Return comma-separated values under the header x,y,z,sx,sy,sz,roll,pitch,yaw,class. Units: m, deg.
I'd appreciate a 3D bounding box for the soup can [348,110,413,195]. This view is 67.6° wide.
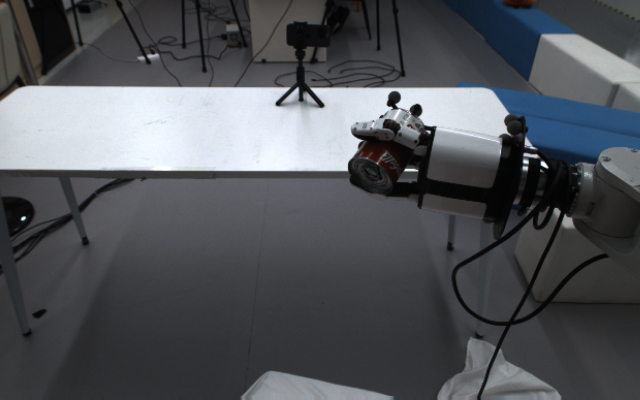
x,y,z,sx,sy,sz,roll,pitch,yaw,class
0.094,-0.068,0.652,0.067,0.067,0.101,22,60,26,soup can
